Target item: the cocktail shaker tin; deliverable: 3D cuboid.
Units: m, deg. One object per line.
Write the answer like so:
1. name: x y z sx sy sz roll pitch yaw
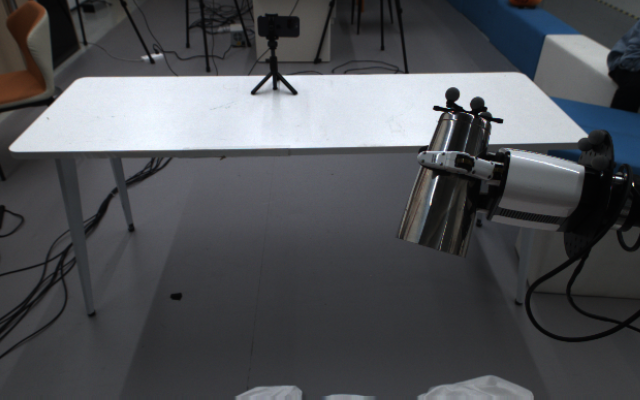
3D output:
1. cocktail shaker tin: 0.166 -0.021 0.618 0.093 0.170 0.093 16 -2 1
